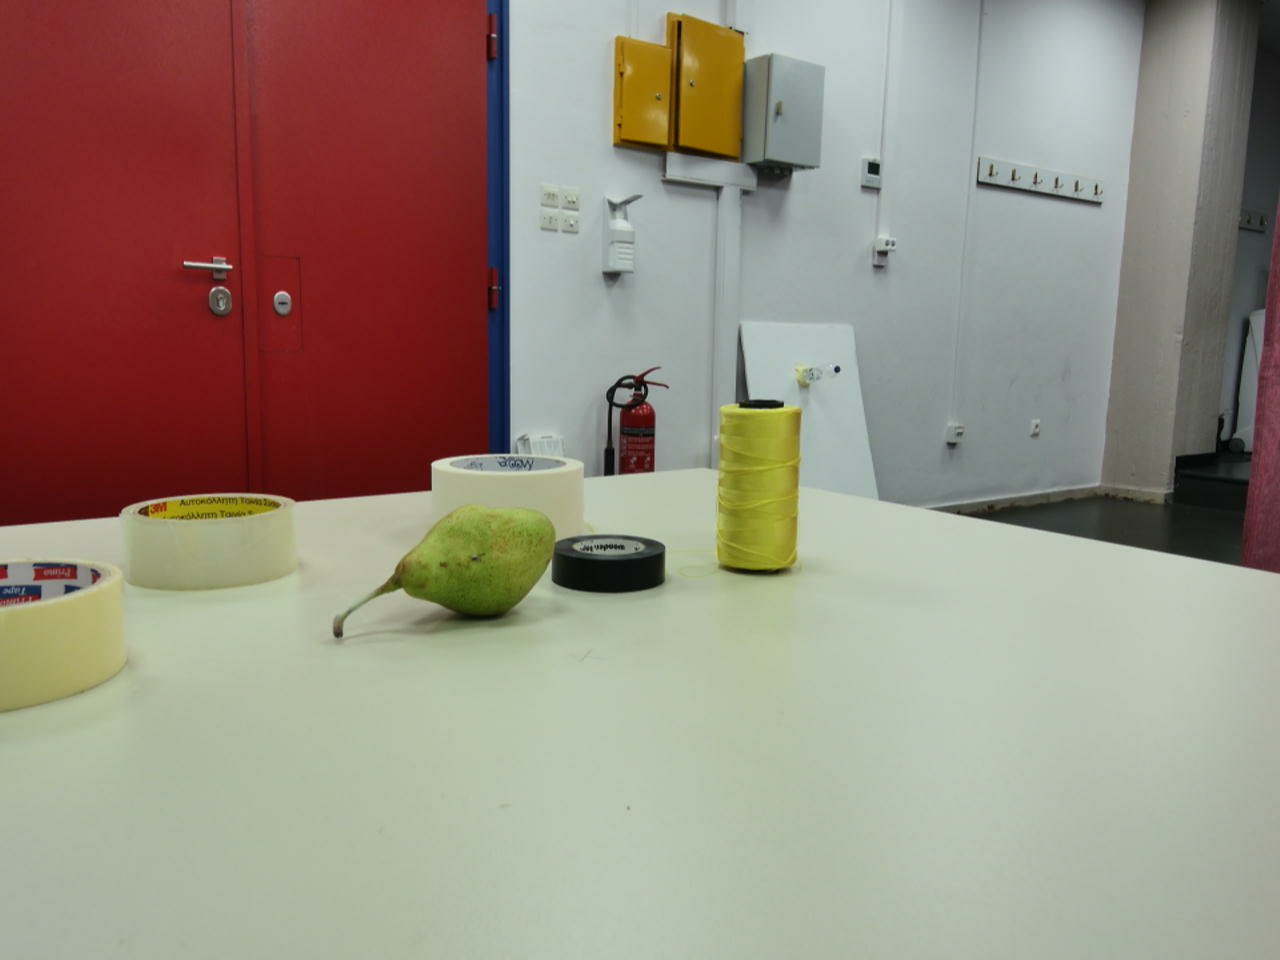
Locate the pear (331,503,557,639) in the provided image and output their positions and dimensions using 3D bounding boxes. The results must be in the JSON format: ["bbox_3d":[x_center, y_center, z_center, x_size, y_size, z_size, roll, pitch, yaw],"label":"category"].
[{"bbox_3d":[-0.097,0.041,0.495,0.111,0.056,0.056,-2,7,-22],"label":"pear"}]
